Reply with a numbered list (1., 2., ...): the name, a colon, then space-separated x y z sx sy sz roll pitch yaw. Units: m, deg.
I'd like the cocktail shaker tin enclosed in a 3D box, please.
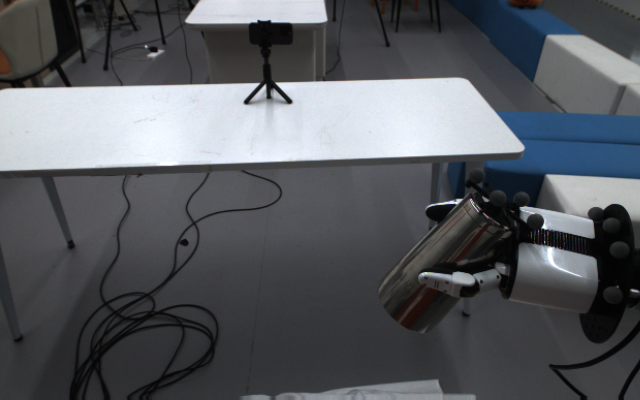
1. cocktail shaker tin: 0.155 0.067 0.589 0.093 0.170 0.093 26 32 -18
